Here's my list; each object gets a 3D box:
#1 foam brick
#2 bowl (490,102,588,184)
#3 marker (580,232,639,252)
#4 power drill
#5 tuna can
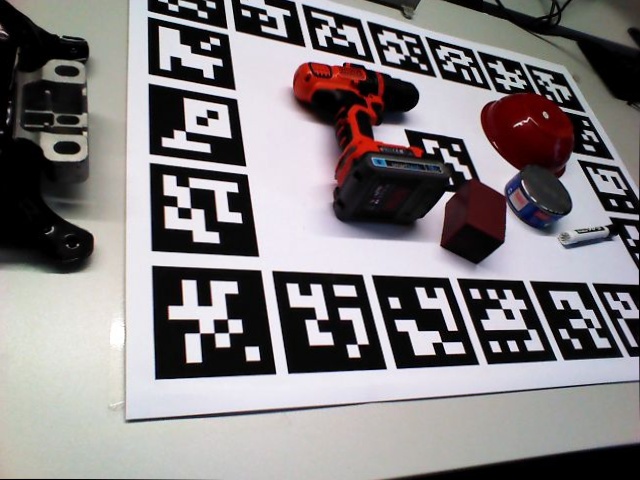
[{"bbox_3d":[0.201,-0.009,0.611,0.051,0.053,0.077,25,52,-11],"label":"foam brick"},{"bbox_3d":[0.345,-0.158,0.784,0.161,0.055,0.160,12,48,-14],"label":"bowl"},{"bbox_3d":[0.405,0.002,0.715,0.120,0.020,0.019,-5,63,-29],"label":"marker"},{"bbox_3d":[0.079,-0.114,0.615,0.184,0.058,0.186,5,55,-28],"label":"power drill"},{"bbox_3d":[0.321,-0.051,0.701,0.085,0.034,0.085,14,53,-20],"label":"tuna can"}]
